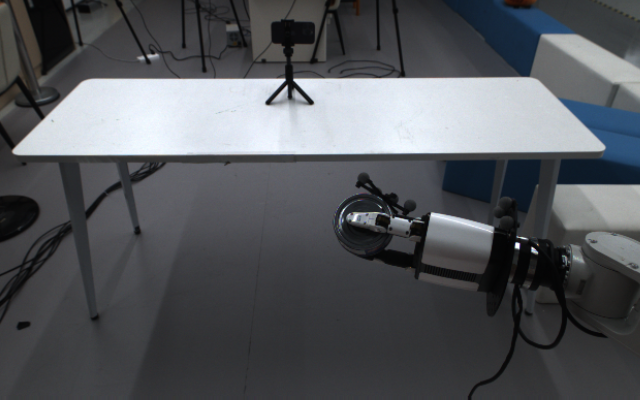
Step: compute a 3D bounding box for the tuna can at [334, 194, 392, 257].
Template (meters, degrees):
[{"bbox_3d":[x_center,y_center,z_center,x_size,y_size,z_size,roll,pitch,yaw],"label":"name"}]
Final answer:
[{"bbox_3d":[0.066,0.040,0.683,0.085,0.034,0.085,-4,69,10],"label":"tuna can"}]
